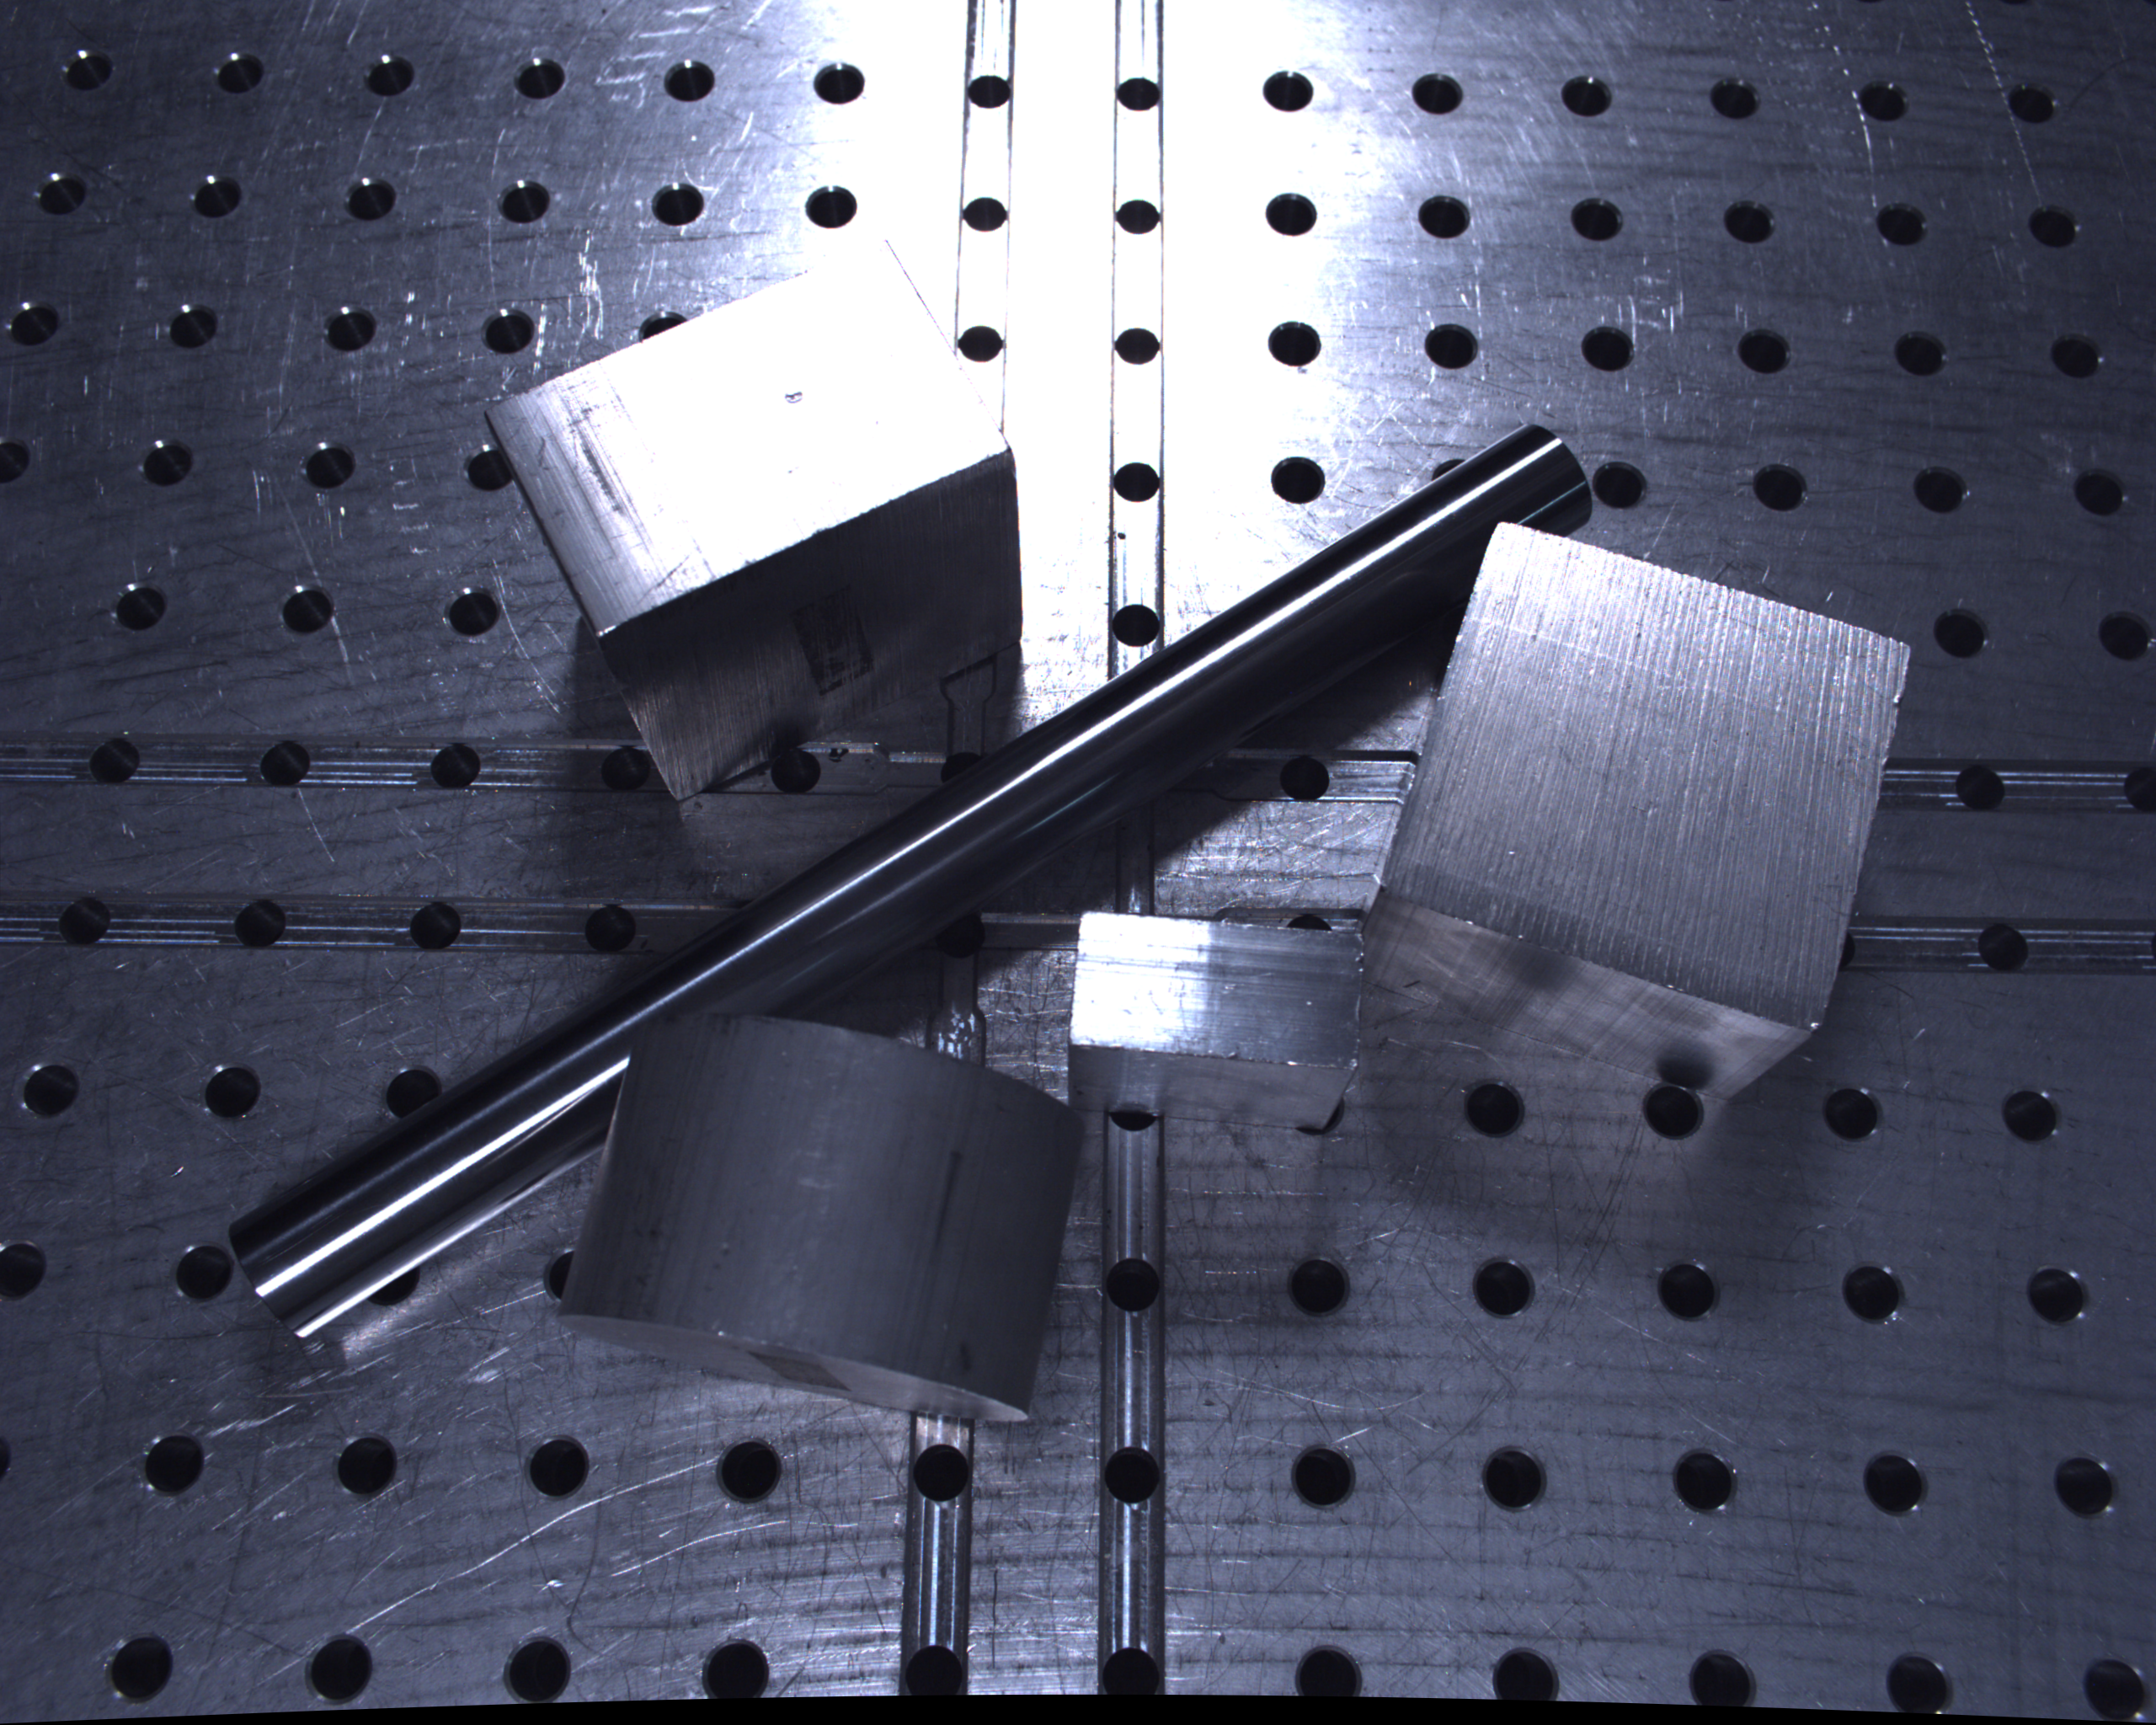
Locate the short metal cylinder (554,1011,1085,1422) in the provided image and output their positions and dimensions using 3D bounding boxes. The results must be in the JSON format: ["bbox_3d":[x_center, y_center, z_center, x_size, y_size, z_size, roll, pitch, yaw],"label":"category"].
[{"bbox_3d":[-0.043,0.062,0.359,0.080,0.080,0.050,11,71,3],"label":"short metal cylinder"}]

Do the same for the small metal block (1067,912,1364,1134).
[{"bbox_3d":[0.024,0.031,0.388,0.050,0.050,0.025,5,70,1],"label":"small metal block"}]

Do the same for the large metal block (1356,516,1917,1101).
[{"bbox_3d":[0.104,-0.009,0.400,0.080,0.050,0.080,18,71,6],"label":"large metal block"}]

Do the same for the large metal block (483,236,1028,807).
[{"bbox_3d":[-0.058,-0.063,0.406,0.080,0.080,0.050,-27,73,-10],"label":"large metal block"}]

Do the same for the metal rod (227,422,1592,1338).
[{"bbox_3d":[-0.024,-0.003,0.412,0.301,0.025,0.025,-33,74,-12],"label":"metal rod"}]
